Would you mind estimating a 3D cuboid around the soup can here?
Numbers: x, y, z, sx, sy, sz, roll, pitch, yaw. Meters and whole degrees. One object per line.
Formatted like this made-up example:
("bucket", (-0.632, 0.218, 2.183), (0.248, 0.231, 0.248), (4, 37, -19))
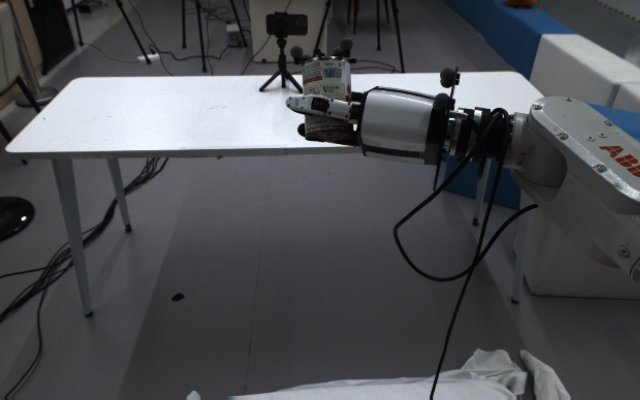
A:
("soup can", (0.011, -0.135, 0.654), (0.067, 0.101, 0.067), (-3, -1, 0))
